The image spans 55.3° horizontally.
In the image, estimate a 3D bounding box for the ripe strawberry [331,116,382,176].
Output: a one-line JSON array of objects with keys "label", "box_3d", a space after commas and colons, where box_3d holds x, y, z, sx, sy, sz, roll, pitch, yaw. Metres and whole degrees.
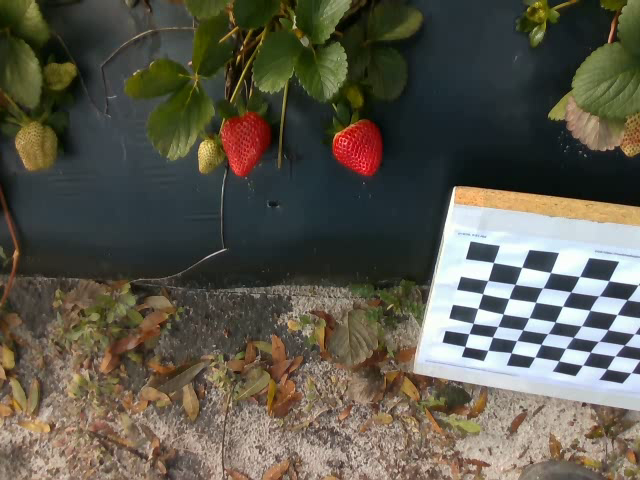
[{"label": "ripe strawberry", "box_3d": [0.023, -0.051, 0.350, 0.033, 0.039, 0.038, -1, -28, -10]}]

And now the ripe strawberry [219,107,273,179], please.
[{"label": "ripe strawberry", "box_3d": [-0.045, -0.056, 0.360, 0.035, 0.036, 0.041, 1, -17, 23]}]
